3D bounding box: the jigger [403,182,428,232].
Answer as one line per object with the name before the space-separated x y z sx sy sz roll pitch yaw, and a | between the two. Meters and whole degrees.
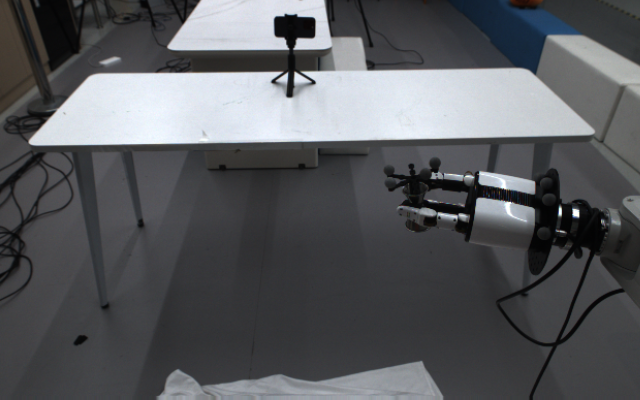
jigger | 0.151 0.010 0.755 0.043 0.071 0.043 -10 32 6
